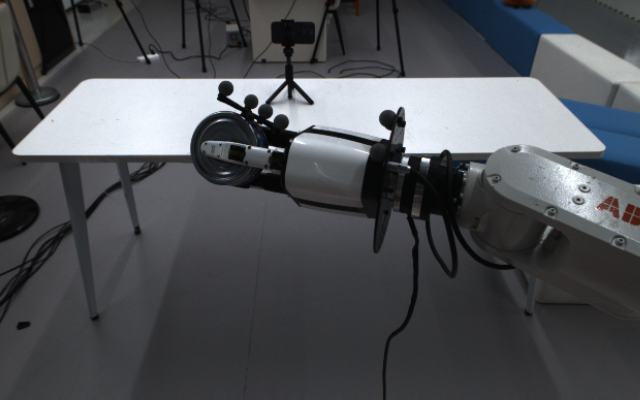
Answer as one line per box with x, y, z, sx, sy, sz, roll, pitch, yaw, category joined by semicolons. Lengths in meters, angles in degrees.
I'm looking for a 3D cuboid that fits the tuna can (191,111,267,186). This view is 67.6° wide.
-0.104;-0.059;0.563;0.085;0.085;0.034;12;4;15;tuna can
